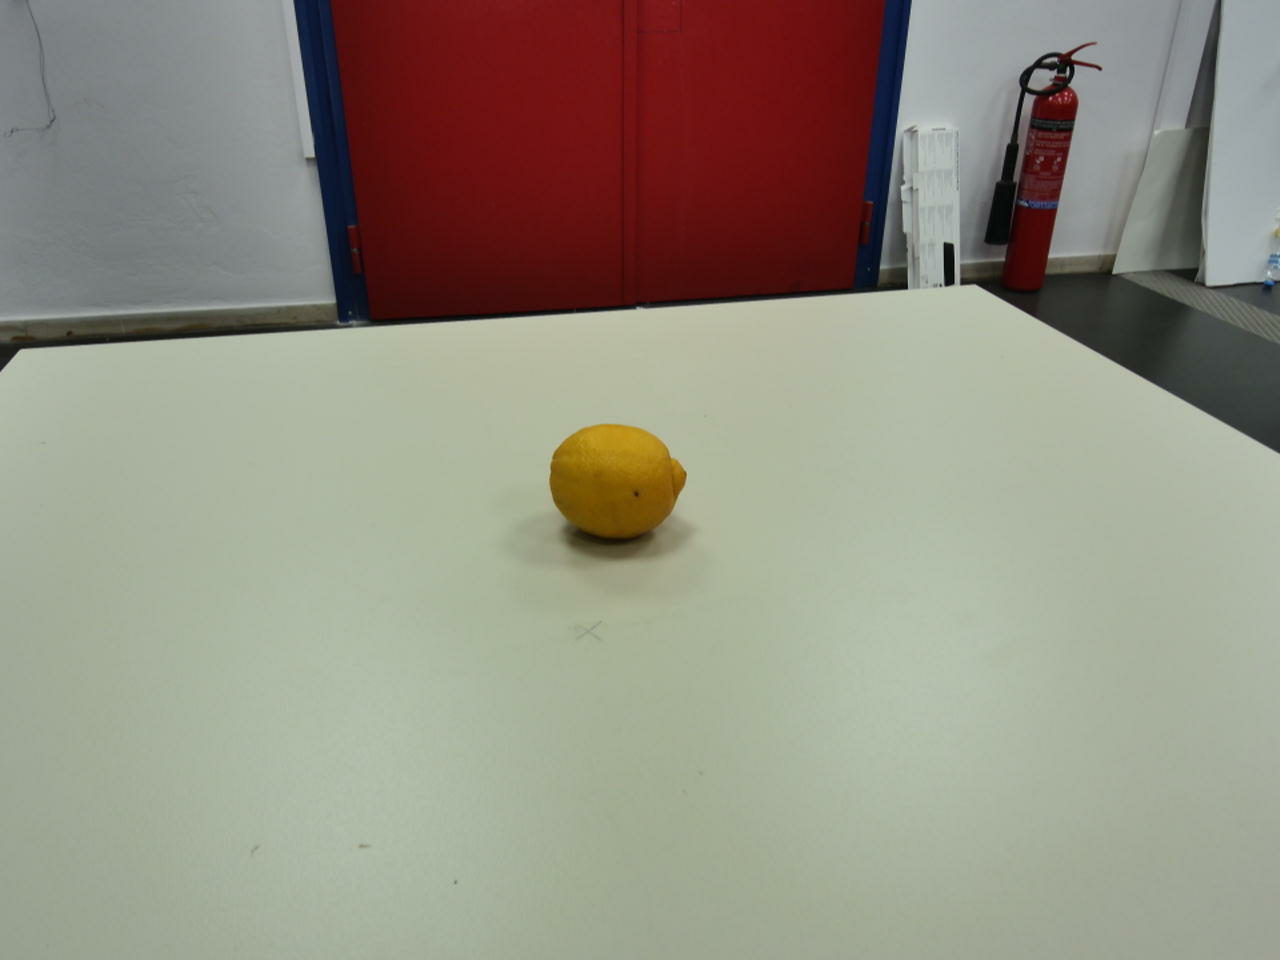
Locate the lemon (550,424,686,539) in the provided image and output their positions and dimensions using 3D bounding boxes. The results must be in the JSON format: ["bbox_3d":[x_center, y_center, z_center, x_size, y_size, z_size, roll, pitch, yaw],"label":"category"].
[{"bbox_3d":[-0.013,0.001,0.523,0.067,0.059,0.060,15,29,26],"label":"lemon"}]
